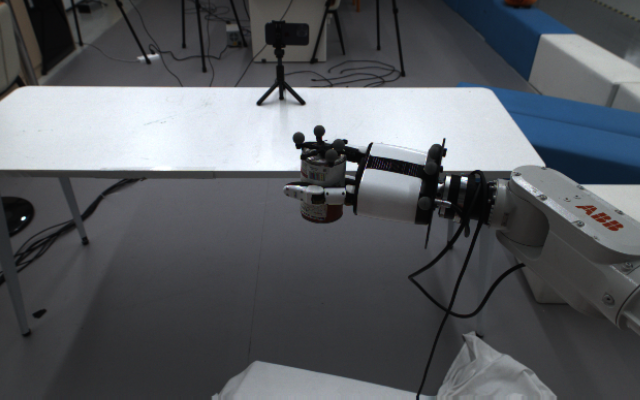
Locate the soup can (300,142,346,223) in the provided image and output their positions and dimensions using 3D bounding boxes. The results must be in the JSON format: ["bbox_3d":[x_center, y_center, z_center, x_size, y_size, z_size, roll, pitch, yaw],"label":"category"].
[{"bbox_3d":[0.004,-0.025,0.720,0.067,0.101,0.067,2,32,-1],"label":"soup can"}]
